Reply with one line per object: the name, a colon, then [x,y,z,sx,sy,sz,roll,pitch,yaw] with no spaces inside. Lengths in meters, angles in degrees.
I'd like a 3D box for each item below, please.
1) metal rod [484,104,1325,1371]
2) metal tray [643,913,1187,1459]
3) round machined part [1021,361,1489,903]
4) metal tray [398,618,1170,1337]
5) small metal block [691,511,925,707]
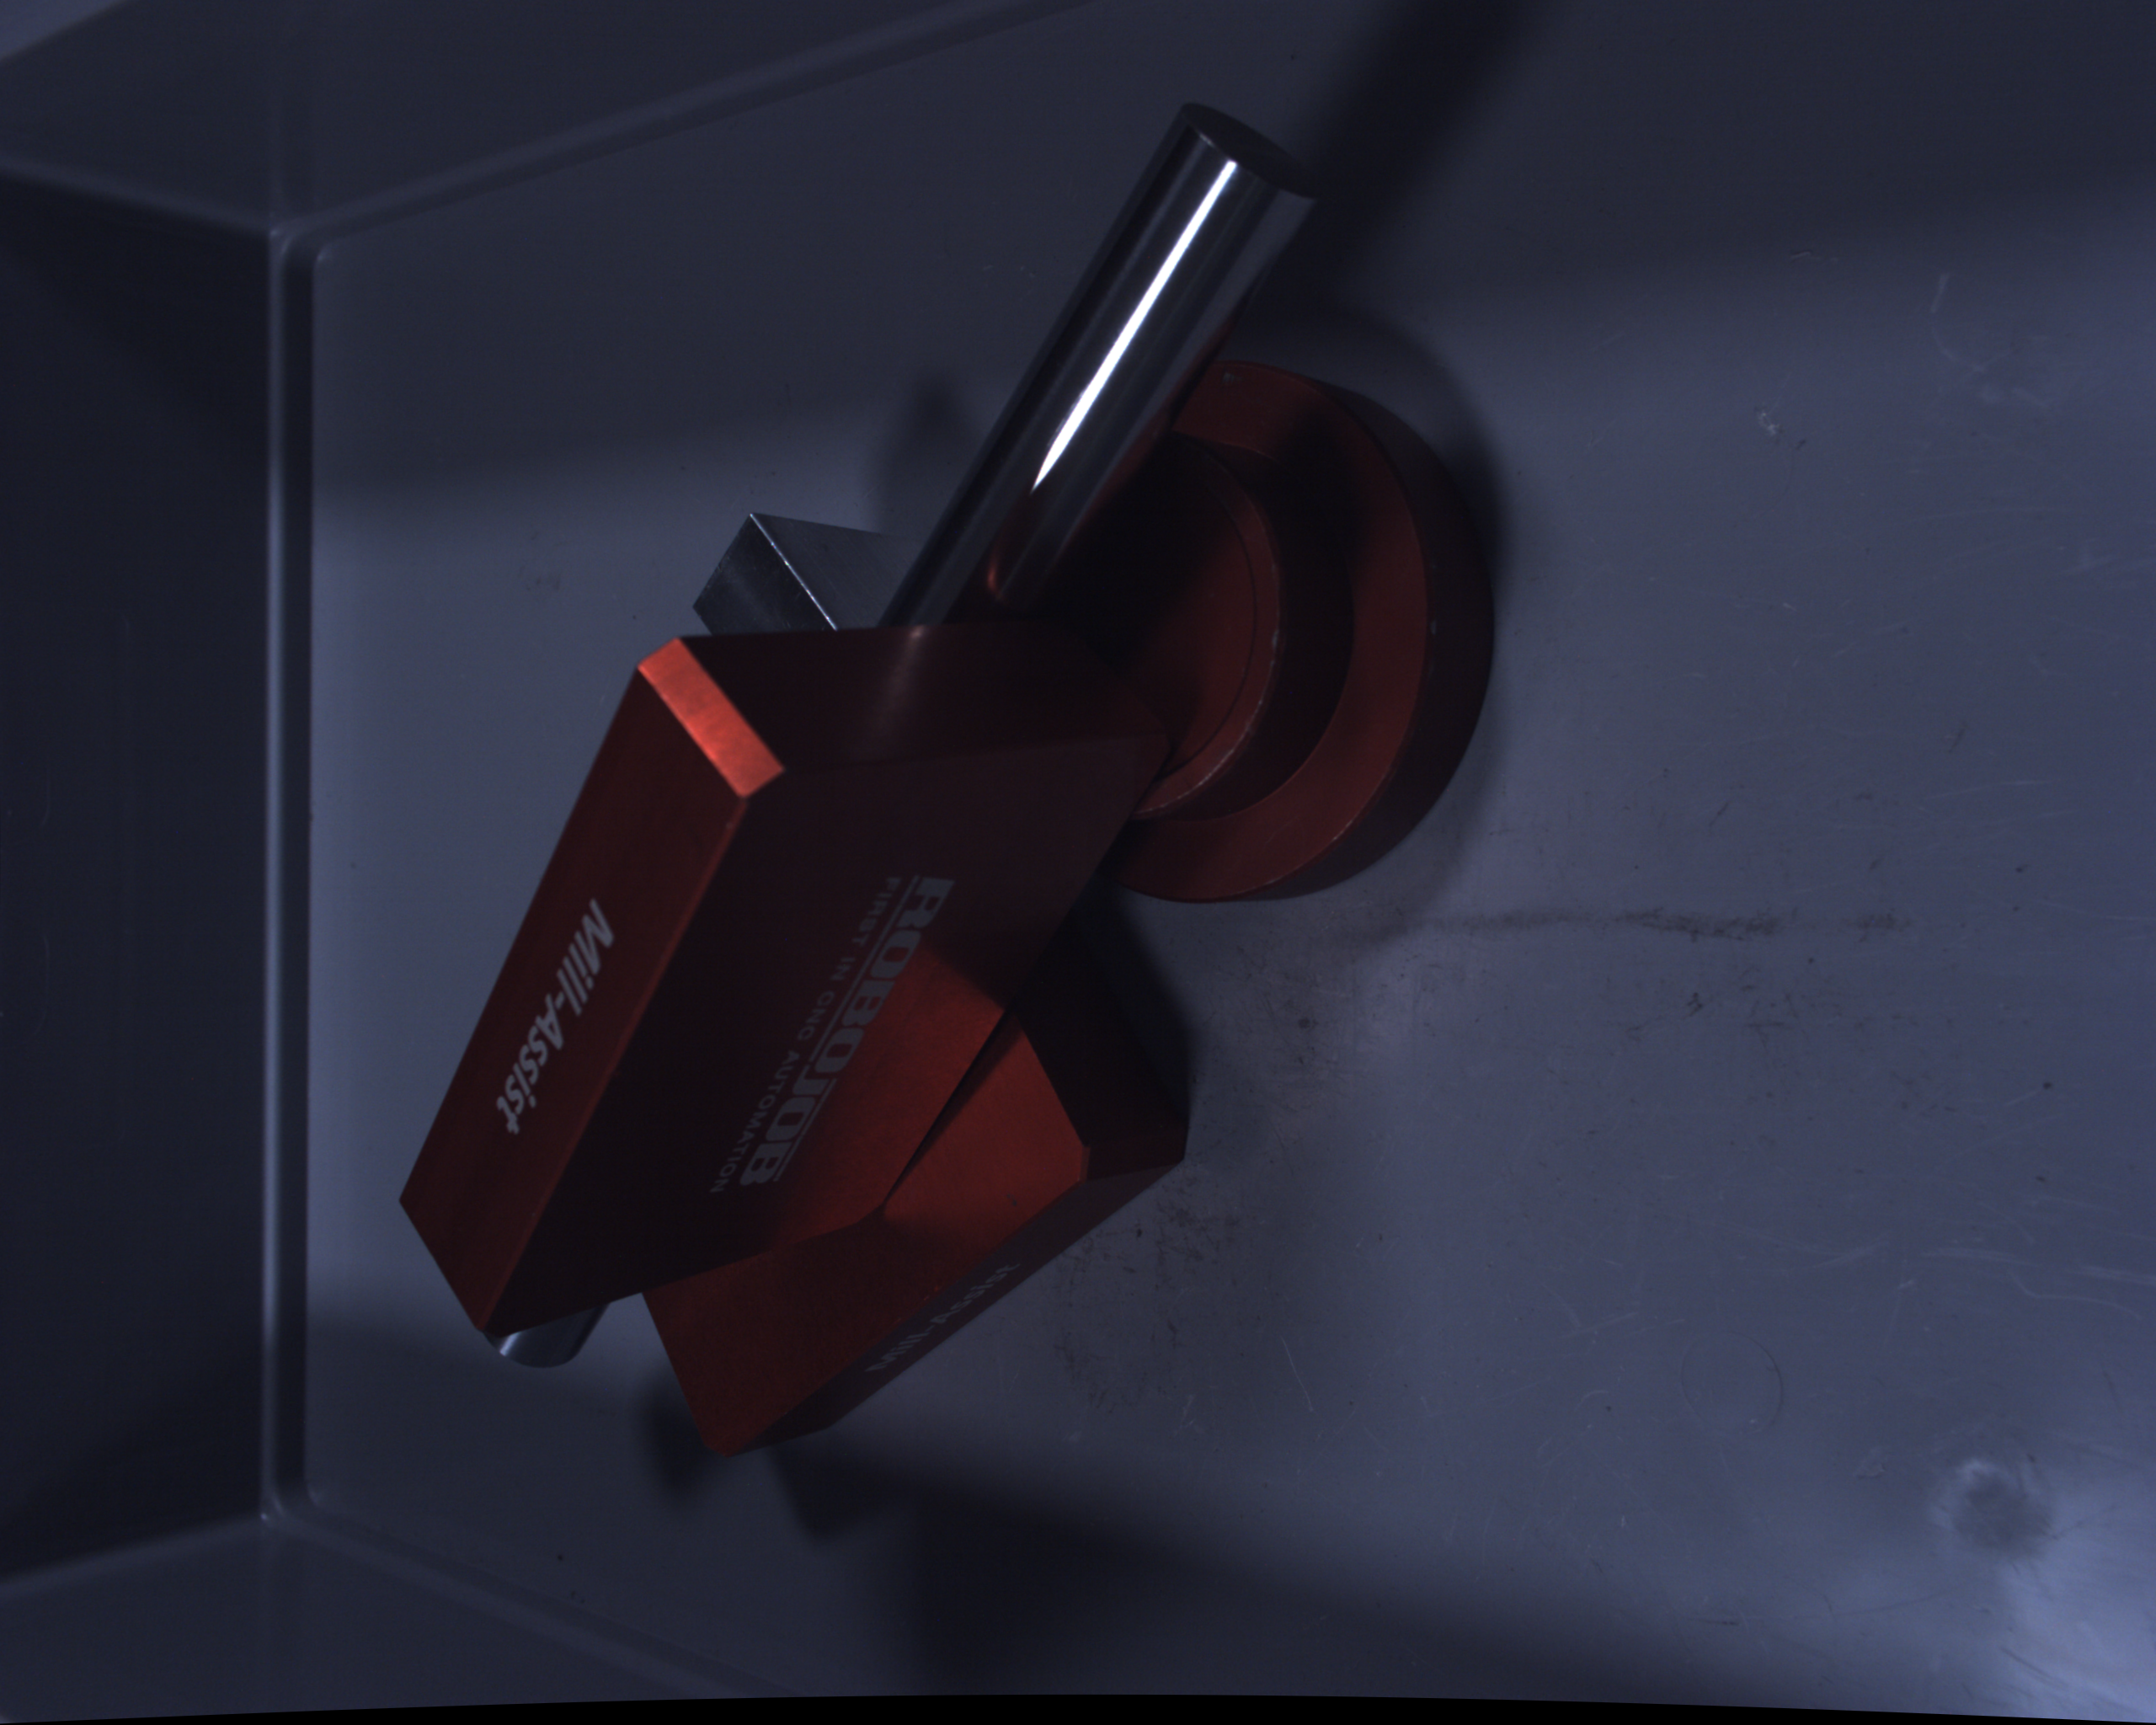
metal rod: [-0.048,-0.002,0.391,0.025,0.025,0.298,52,124,27]
metal tray: [-0.047,0.056,0.438,0.129,0.030,0.090,-42,65,31]
round machined part: [0.020,-0.041,0.375,0.098,0.042,0.097,0,90,39]
metal tray: [-0.050,0.019,0.353,0.030,0.091,0.129,49,125,25]
small metal block: [-0.041,-0.042,0.420,0.025,0.050,0.050,-52,60,27]
